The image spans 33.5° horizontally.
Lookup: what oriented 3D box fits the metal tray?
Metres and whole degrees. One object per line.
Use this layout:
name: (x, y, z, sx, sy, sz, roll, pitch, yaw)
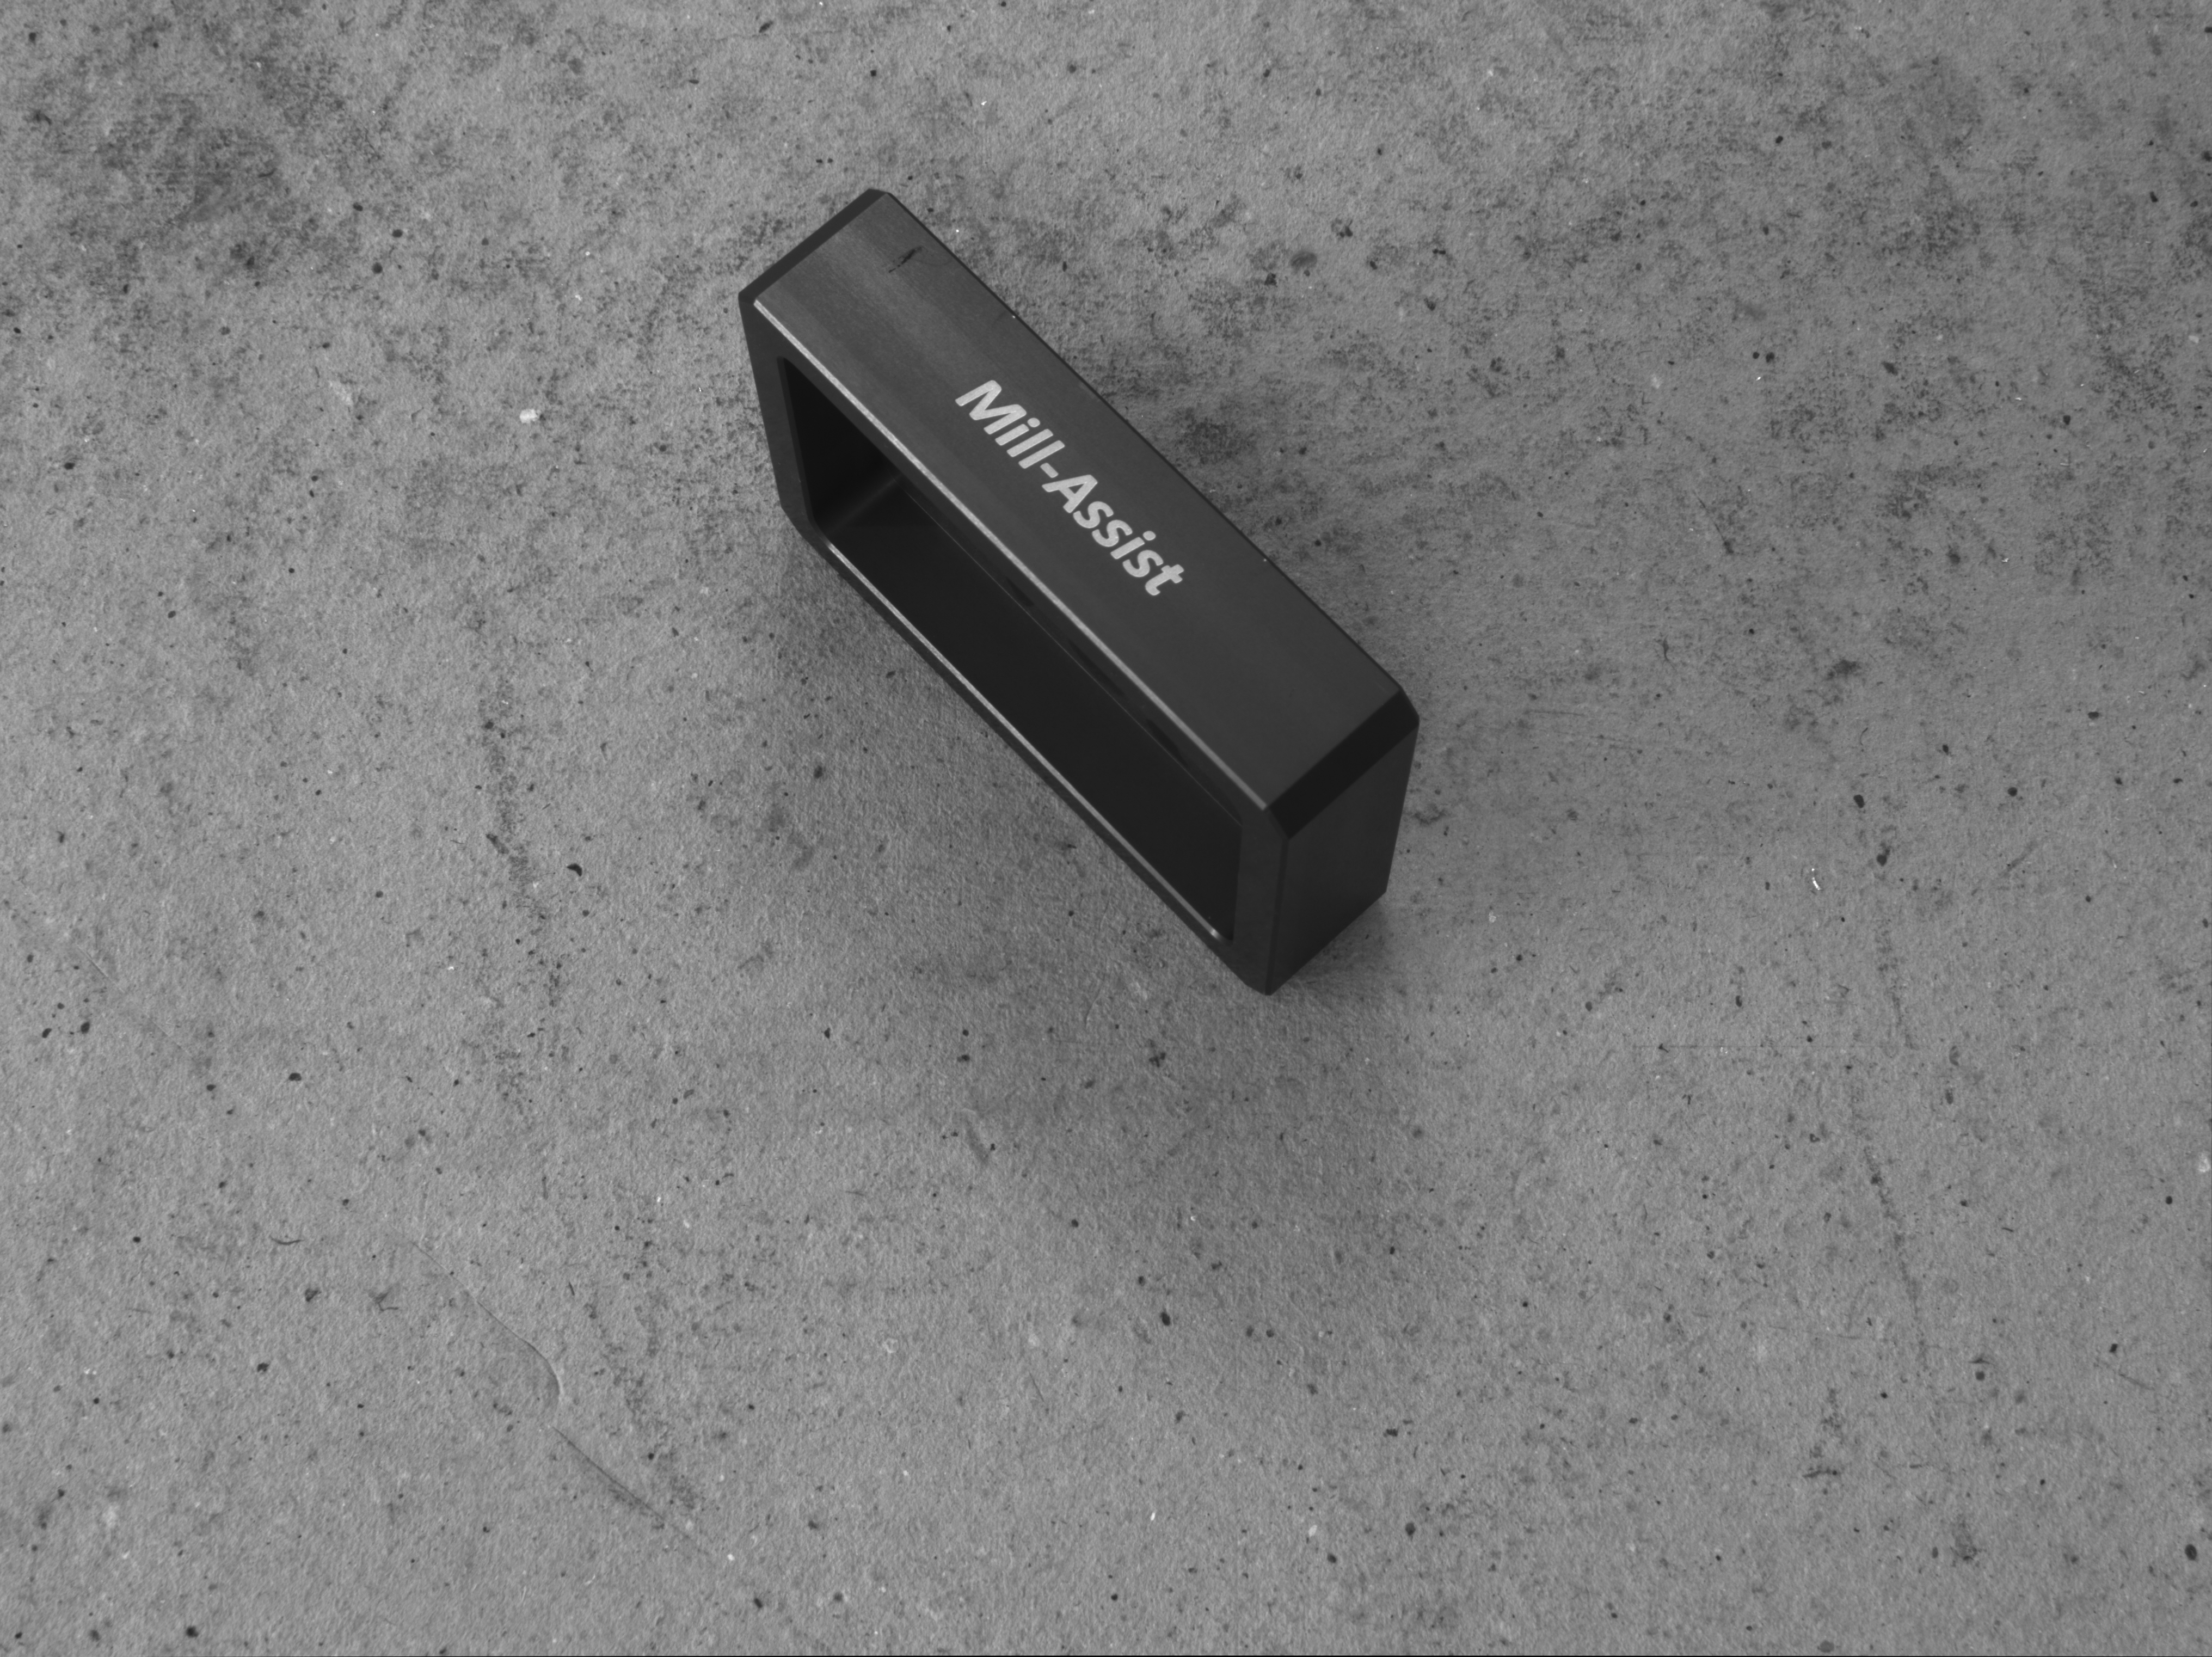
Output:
metal tray: (-0.005, -0.038, 0.625, 0.030, 0.090, 0.130, -41, 75, -13)
